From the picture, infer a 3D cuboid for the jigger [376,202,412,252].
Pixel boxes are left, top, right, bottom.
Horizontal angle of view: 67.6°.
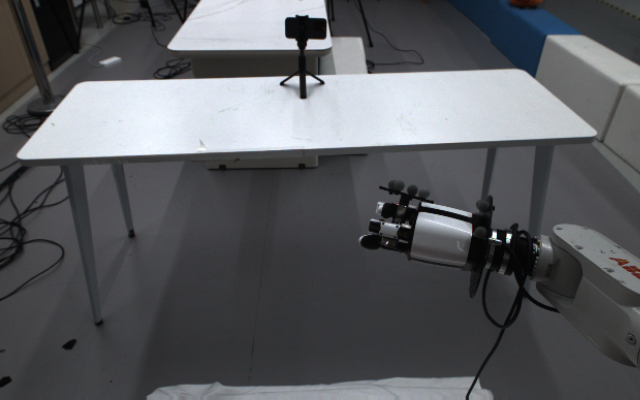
[{"bbox_3d":[0.123,0.040,0.766,0.043,0.071,0.043,17,2,-1],"label":"jigger"}]
